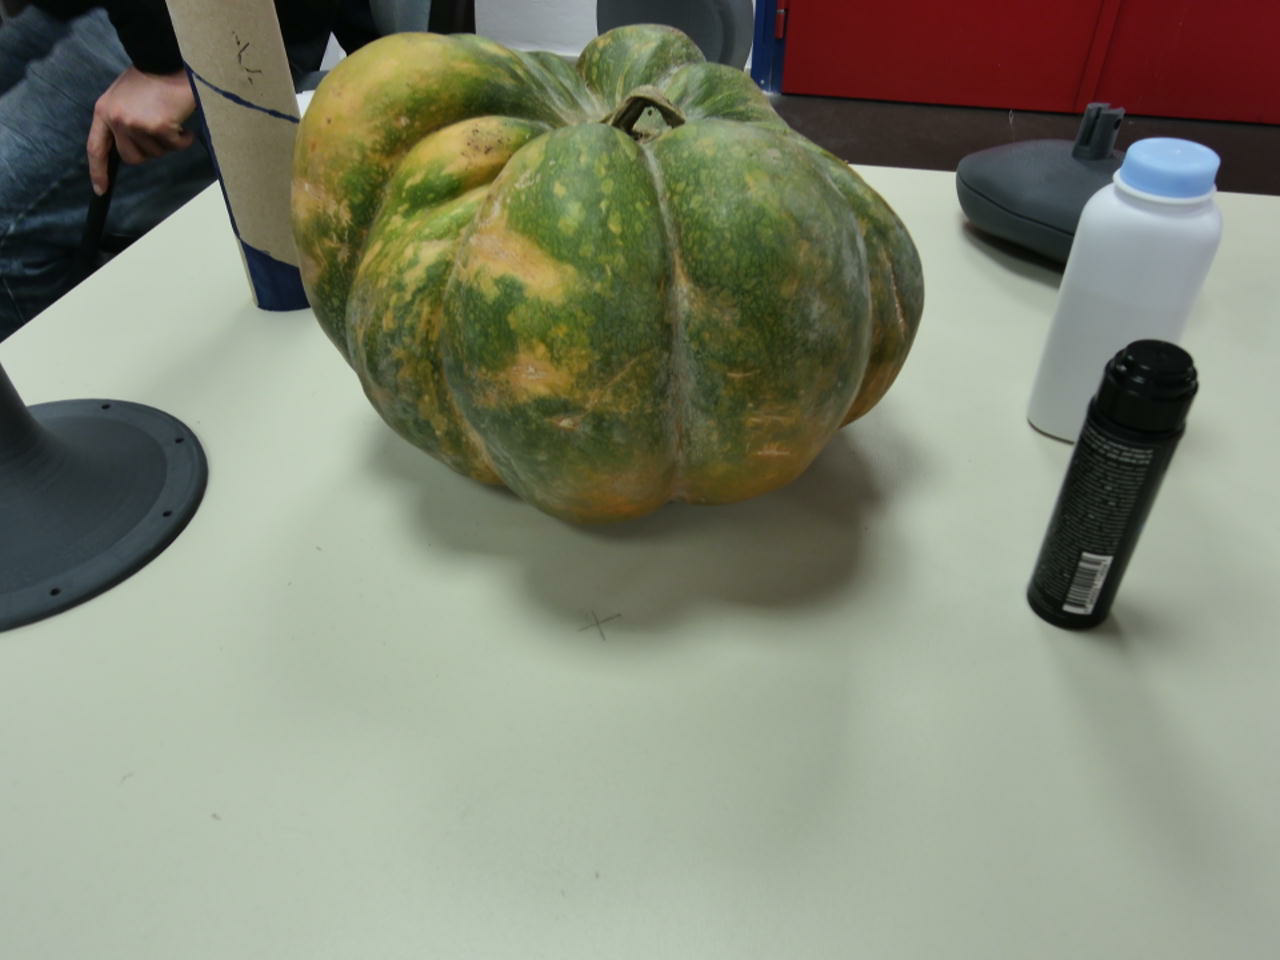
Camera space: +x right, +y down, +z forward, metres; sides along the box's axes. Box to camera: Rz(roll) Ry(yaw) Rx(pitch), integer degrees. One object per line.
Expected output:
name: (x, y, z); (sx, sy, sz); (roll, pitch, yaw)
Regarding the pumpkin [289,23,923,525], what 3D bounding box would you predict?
pumpkin: (-0.013, -0.096, 0.423); (0.237, 0.173, 0.270); (-27, 46, -30)
